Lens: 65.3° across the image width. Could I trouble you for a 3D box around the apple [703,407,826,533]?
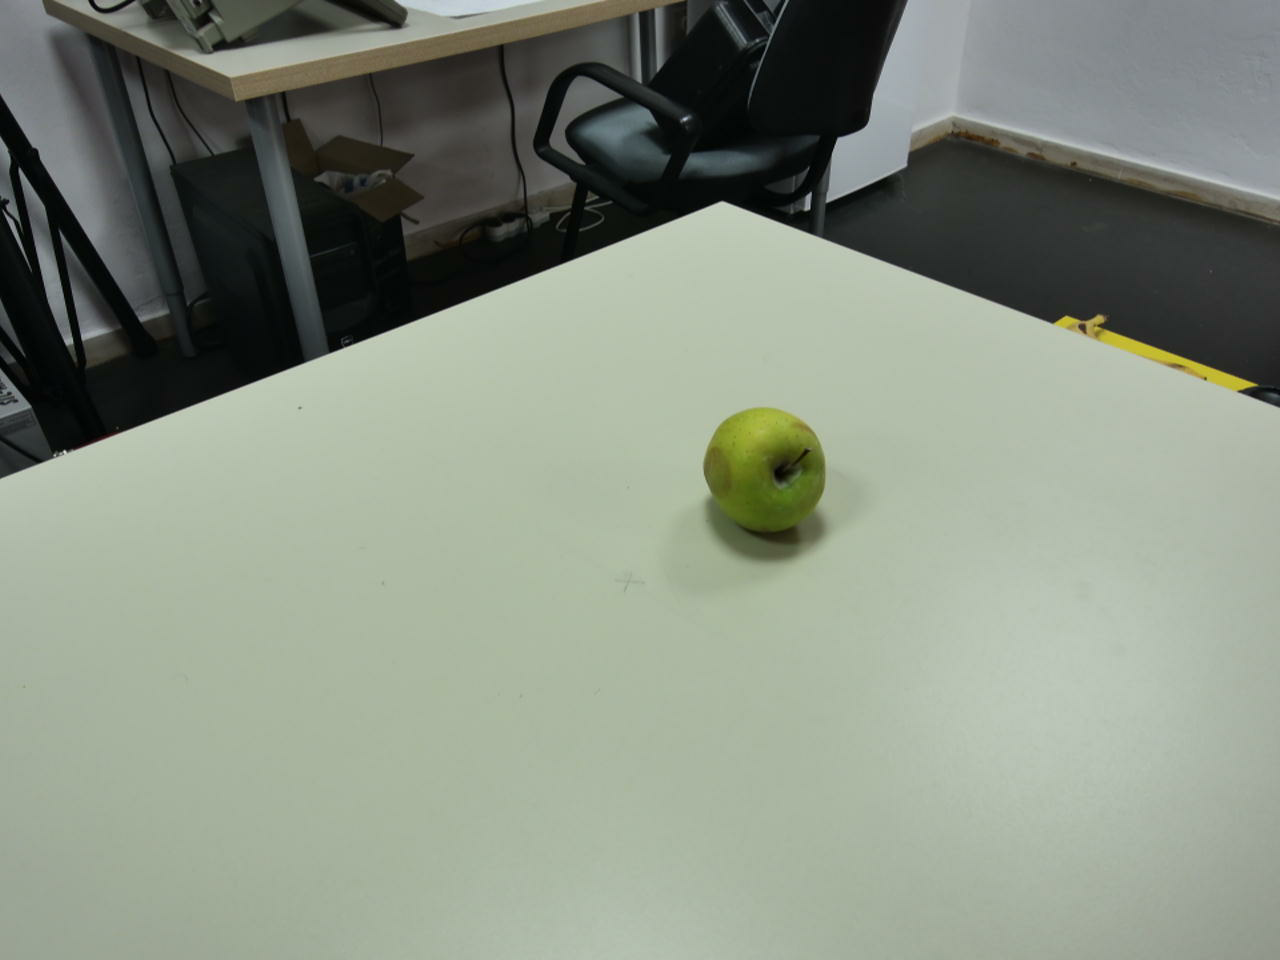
[{"bbox_3d":[0.074,-0.008,0.602,0.072,0.075,0.077,2,36,2],"label":"apple"}]
